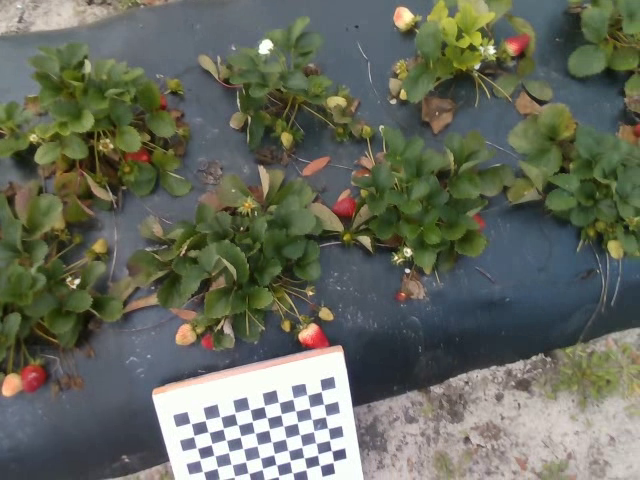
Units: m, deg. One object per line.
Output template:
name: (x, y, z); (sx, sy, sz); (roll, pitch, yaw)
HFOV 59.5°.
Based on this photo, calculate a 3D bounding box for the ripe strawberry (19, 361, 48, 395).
ripe strawberry: (-0.389, 0.189, 0.747); (0.034, 0.042, 0.033); (19, -47, -14)
